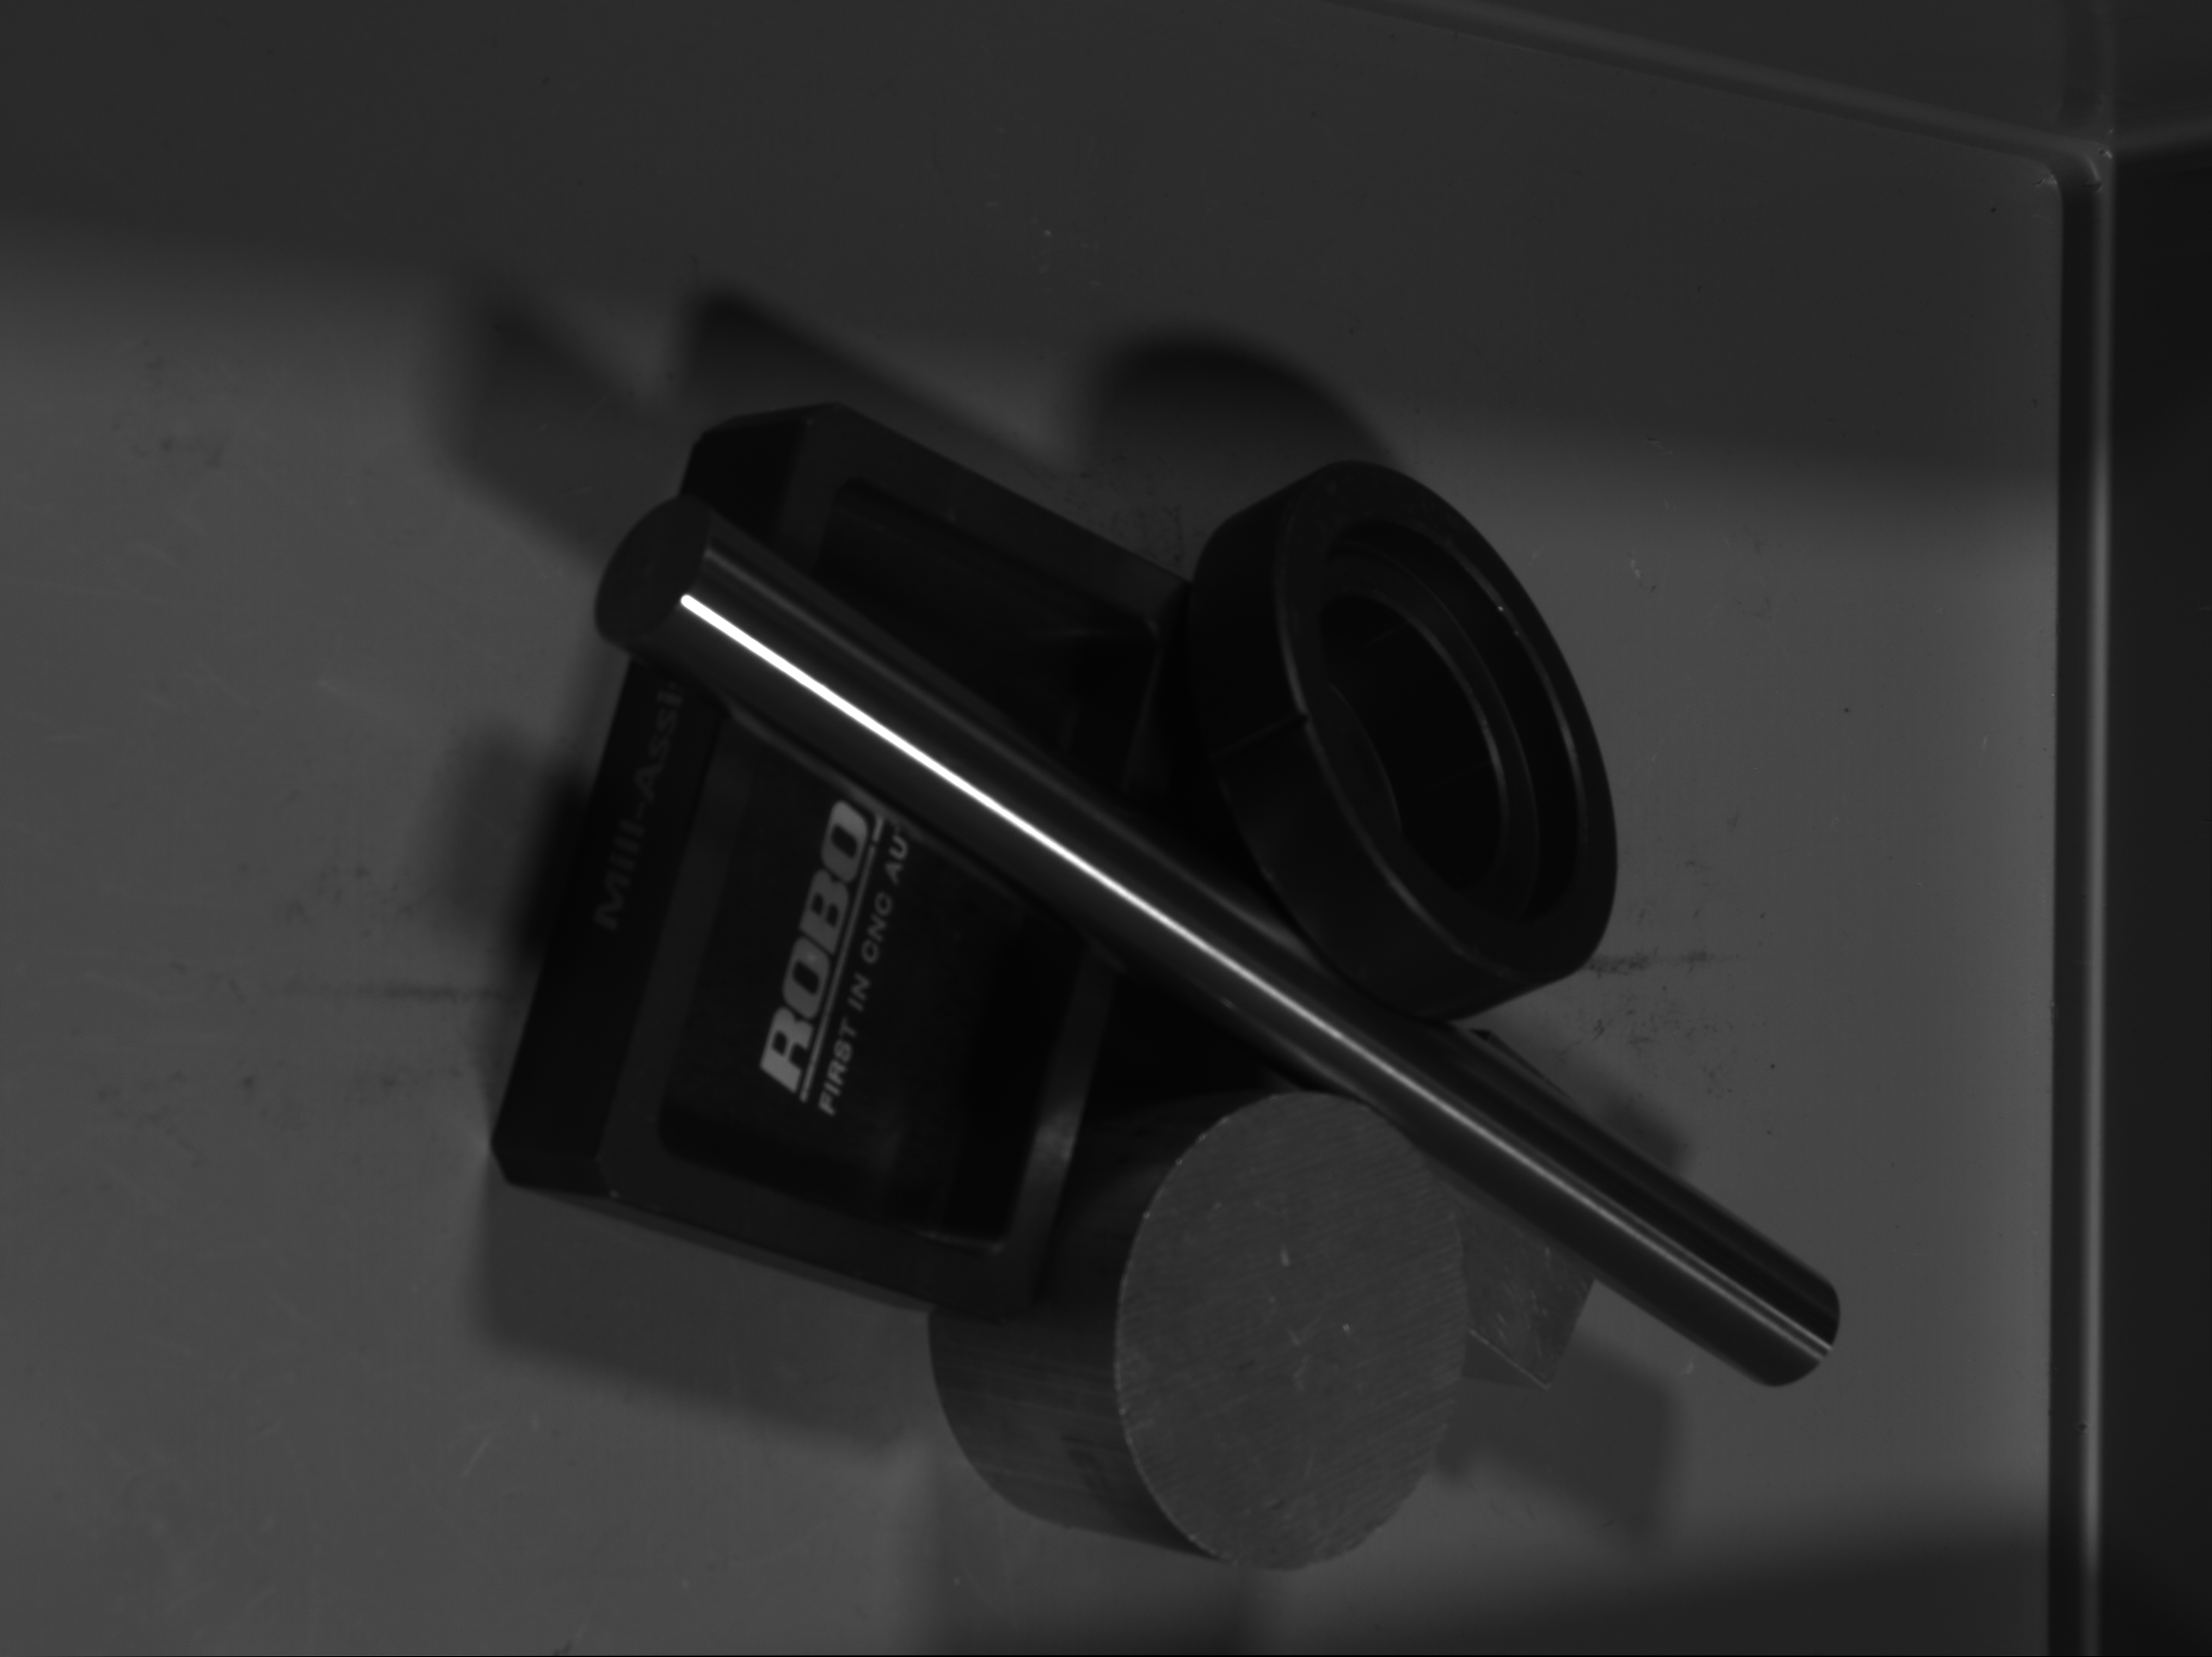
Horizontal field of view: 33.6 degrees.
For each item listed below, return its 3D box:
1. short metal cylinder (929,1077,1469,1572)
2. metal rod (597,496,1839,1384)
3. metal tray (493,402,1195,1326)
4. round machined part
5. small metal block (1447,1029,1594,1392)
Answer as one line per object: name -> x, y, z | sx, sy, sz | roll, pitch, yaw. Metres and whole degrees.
short metal cylinder -> 0.017, 0.084, 0.632 | 0.080, 0.050, 0.080 | 0, 90, -40
metal rod -> 0.033, 0.030, 0.626 | 0.301, 0.025, 0.025 | 34, 69, -37
metal tray -> -0.039, 0.007, 0.599 | 0.090, 0.030, 0.130 | 24, 75, -37
round machined part -> 0.046, -0.012, 0.647 | 0.098, 0.042, 0.098 | 32, 45, -39
small metal block -> 0.069, 0.072, 0.693 | 0.050, 0.025, 0.050 | 39, 66, -33
